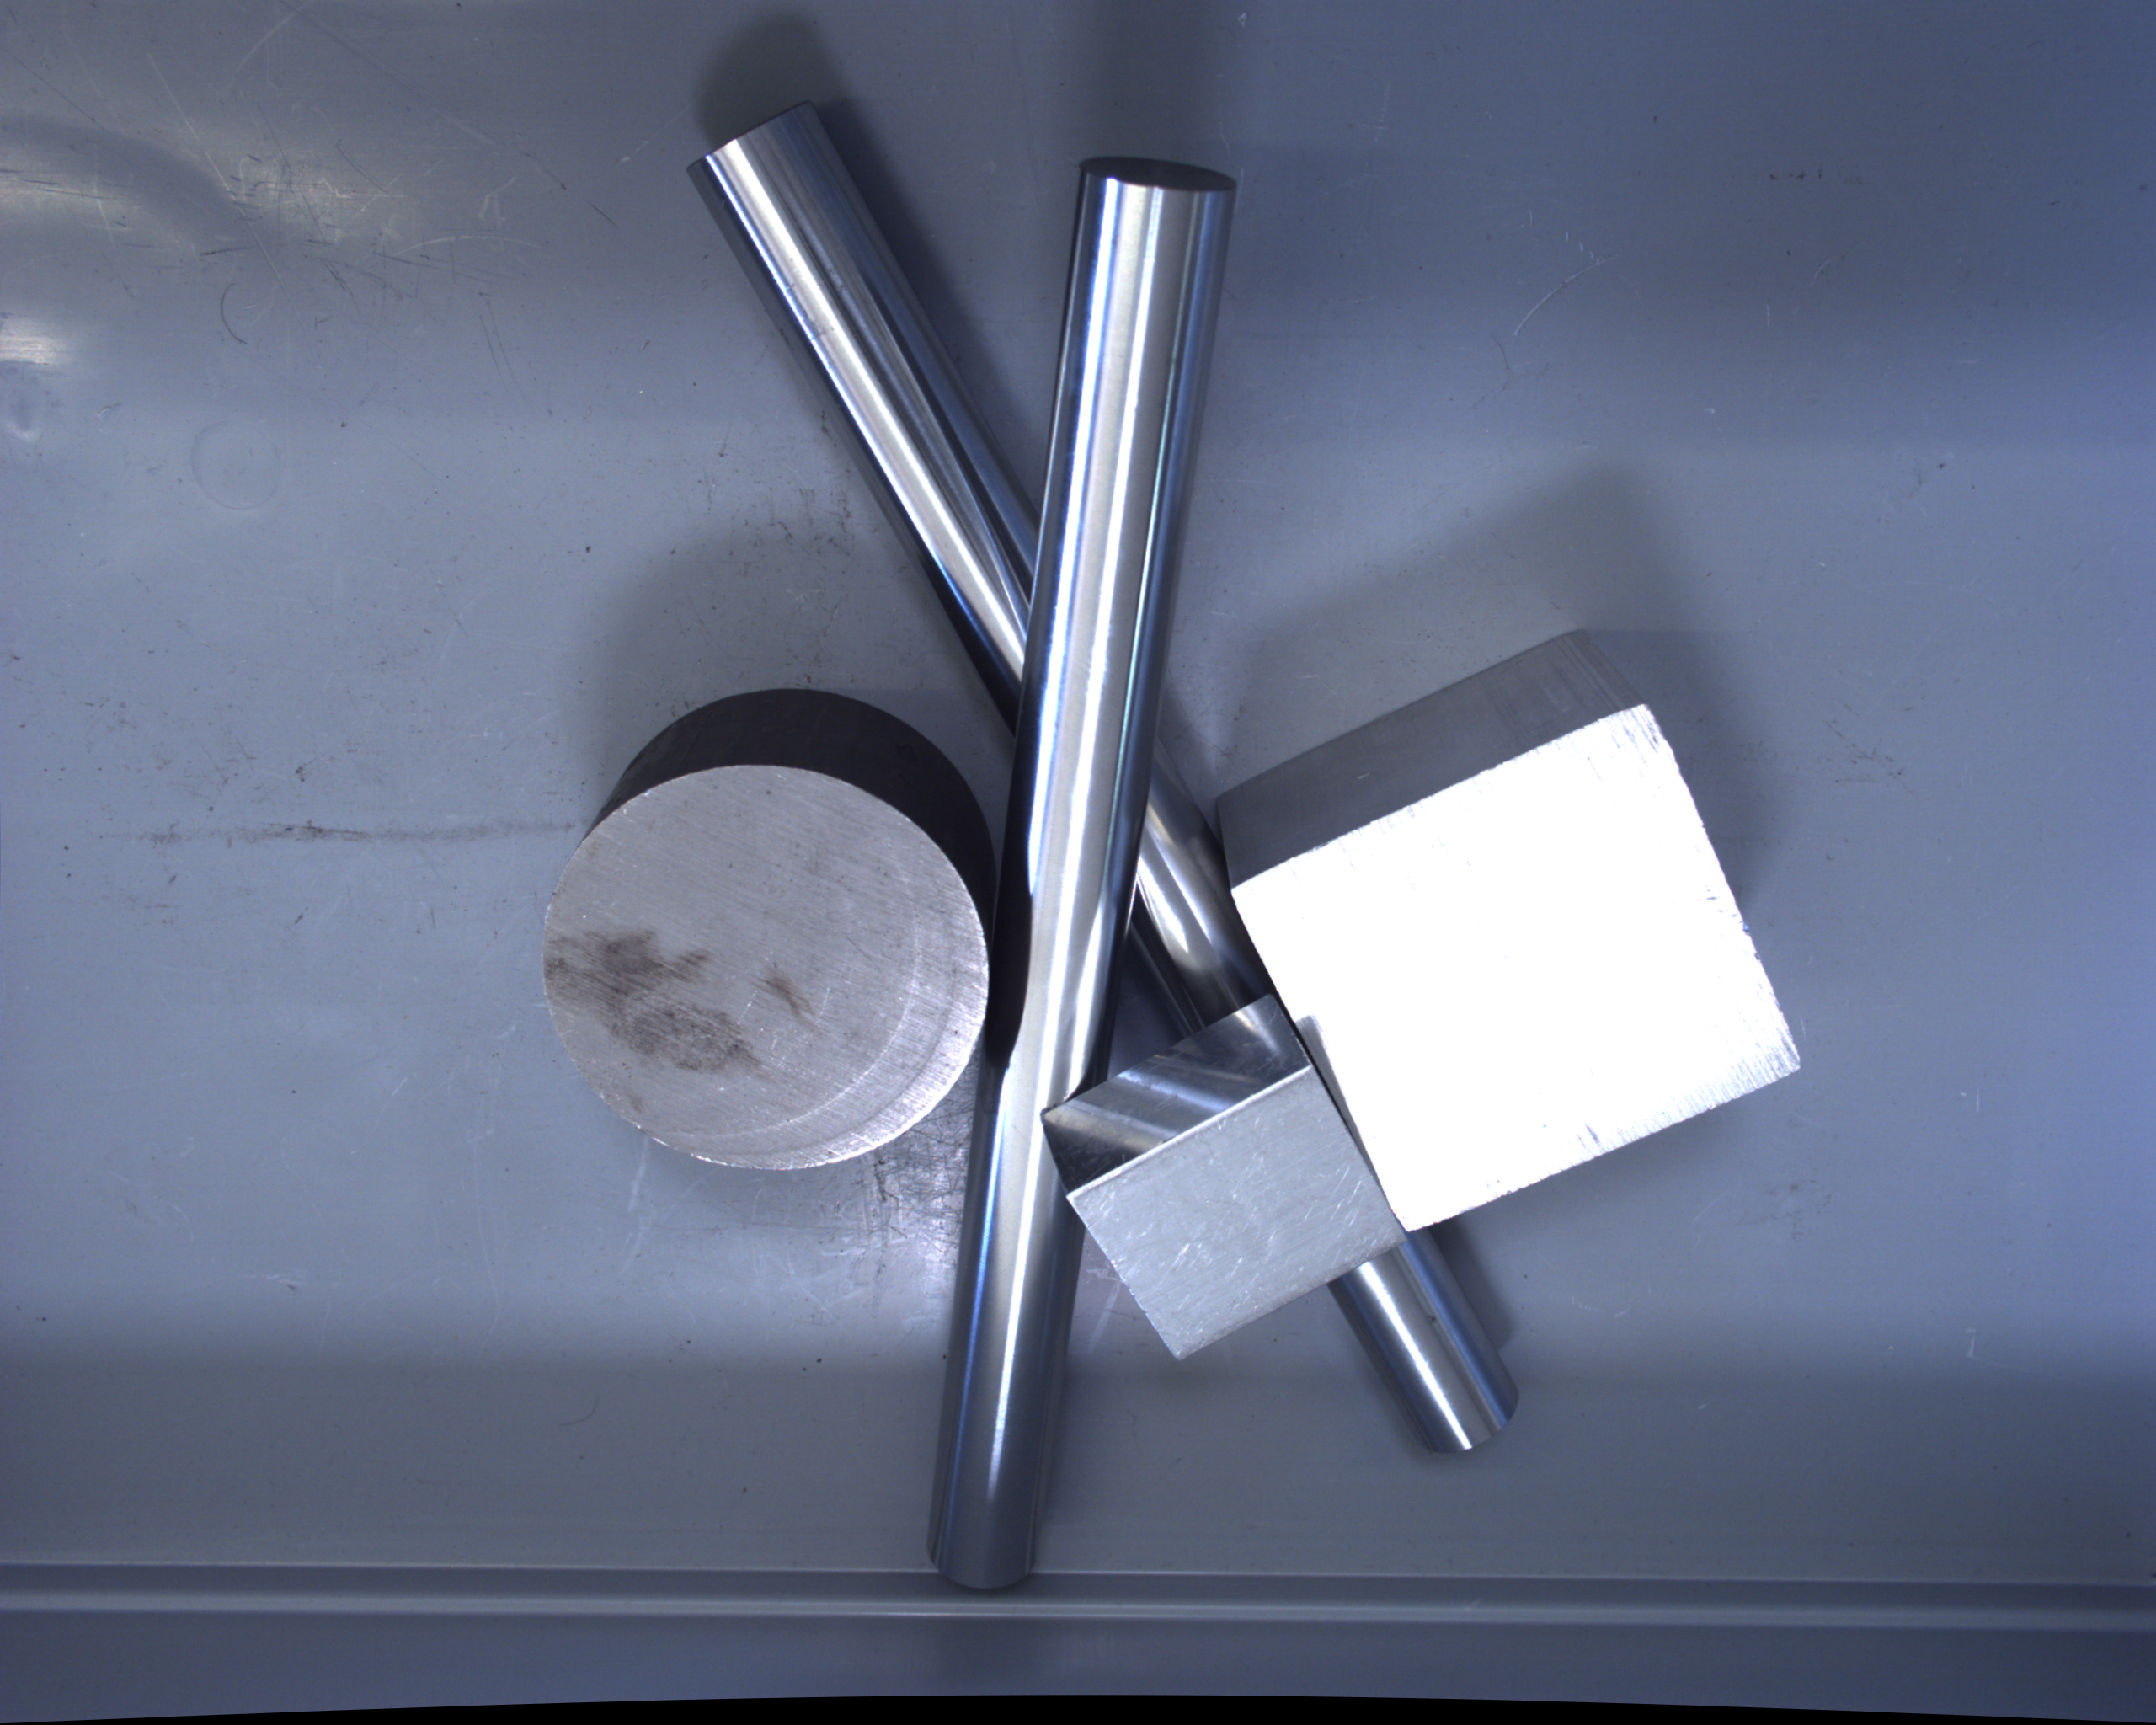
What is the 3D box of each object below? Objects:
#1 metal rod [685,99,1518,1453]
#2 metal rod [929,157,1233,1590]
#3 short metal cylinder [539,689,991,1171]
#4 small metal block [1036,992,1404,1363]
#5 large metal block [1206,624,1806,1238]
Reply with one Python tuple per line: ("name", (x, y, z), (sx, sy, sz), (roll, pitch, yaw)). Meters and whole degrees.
("metal rod", (0.013, -0.003, 0.408), (0.025, 0.025, 0.299), (-27, 109, 9))
("metal rod", (-0.004, 0.022, 0.397), (0.025, 0.025, 0.298), (6, 118, -2))
("short metal cylinder", (-0.057, 0.012, 0.400), (0.081, 0.050, 0.079), (0, 110, -1))
("small metal block", (0.028, 0.060, 0.398), (0.050, 0.025, 0.050), (-29, 123, 2))
("large metal block", (0.080, 0.012, 0.401), (0.080, 0.050, 0.080), (-26, 108, 9))
